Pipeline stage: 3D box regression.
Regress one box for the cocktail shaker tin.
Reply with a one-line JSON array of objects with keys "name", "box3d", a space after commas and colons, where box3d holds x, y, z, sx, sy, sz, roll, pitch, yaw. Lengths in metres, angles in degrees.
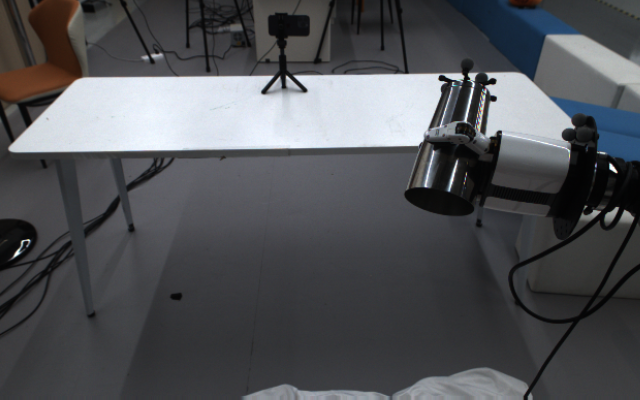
[{"name": "cocktail shaker tin", "box3d": [0.182, -0.073, 0.658, 0.093, 0.093, 0.170, 13, 73, 16]}]
